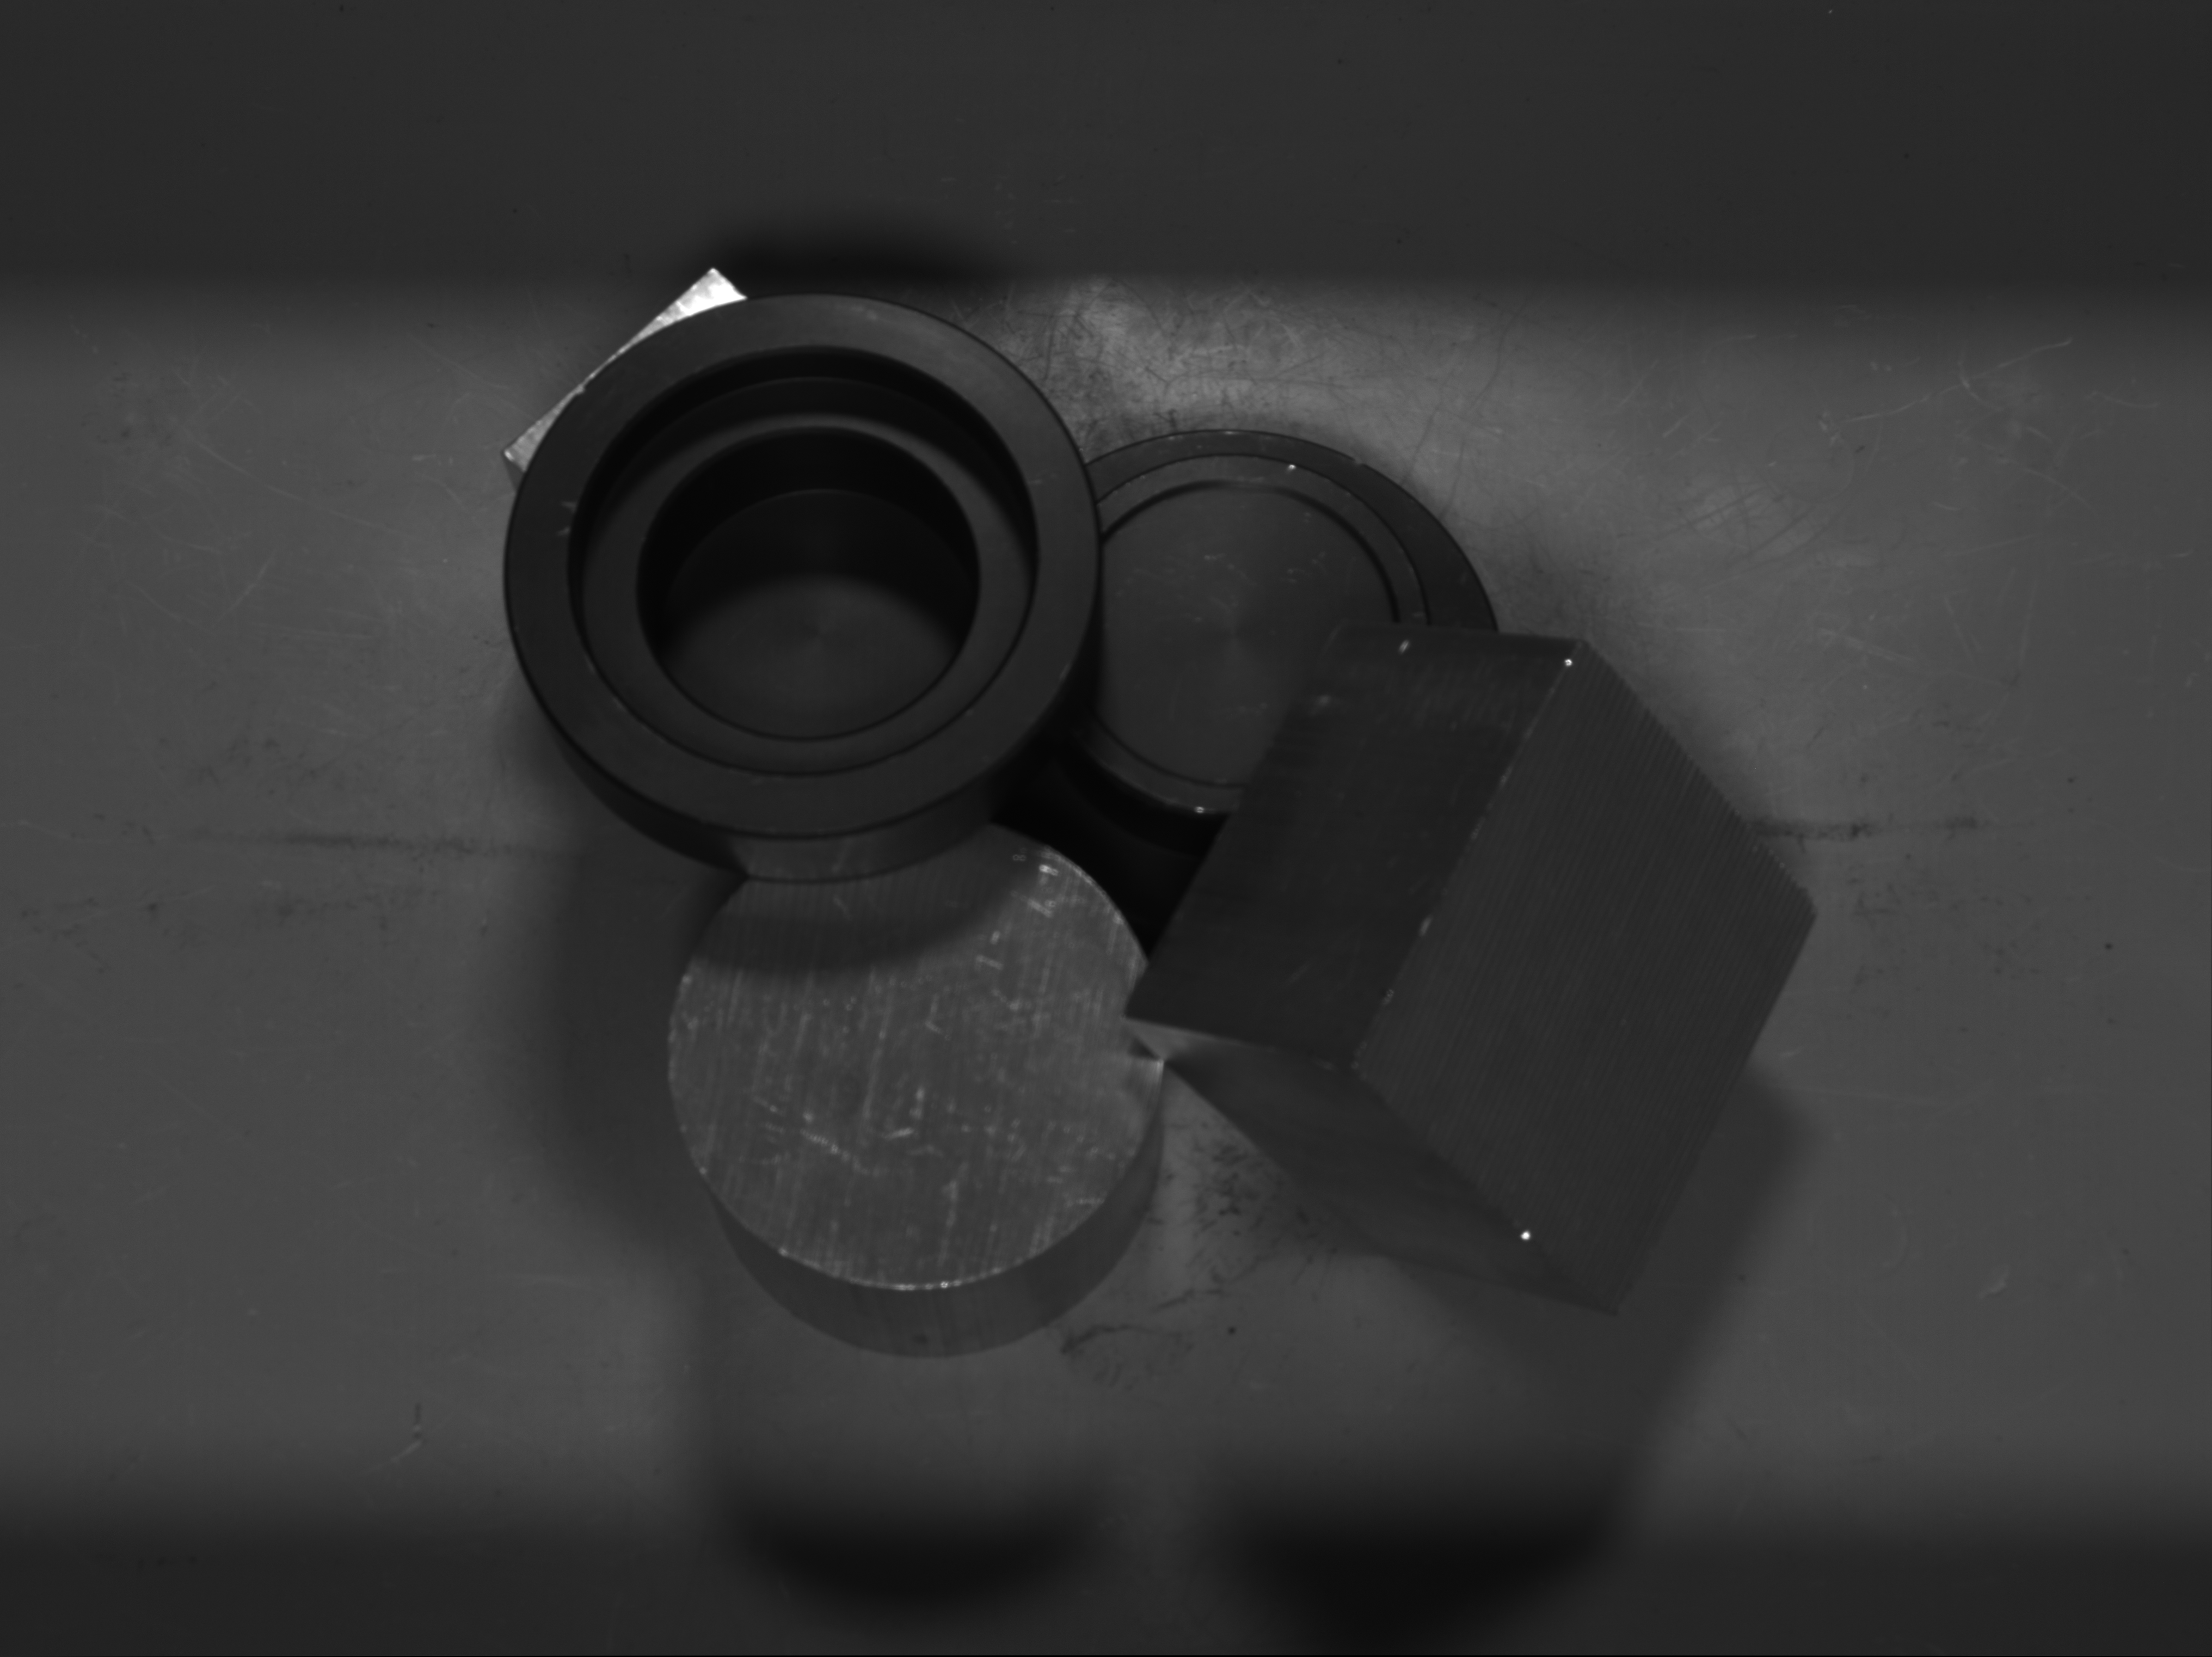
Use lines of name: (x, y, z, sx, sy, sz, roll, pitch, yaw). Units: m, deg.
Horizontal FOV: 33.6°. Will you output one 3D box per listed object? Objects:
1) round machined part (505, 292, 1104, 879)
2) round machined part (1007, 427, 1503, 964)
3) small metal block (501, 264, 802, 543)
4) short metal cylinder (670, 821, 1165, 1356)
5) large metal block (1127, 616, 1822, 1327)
round machined part: (-0.049, -0.037, 0.617, 0.098, 0.042, 0.098, 0, 70, 0)
round machined part: (0.022, -0.027, 0.643, 0.098, 0.042, 0.098, 0, 70, 0)
small metal block: (-0.077, -0.065, 0.653, 0.025, 0.050, 0.050, 42, 76, 14)
short metal cylinder: (-0.030, 0.044, 0.614, 0.080, 0.050, 0.080, 0, 70, 0)
large metal block: (0.062, 0.023, 0.599, 0.050, 0.080, 0.080, 9, 62, 48)
